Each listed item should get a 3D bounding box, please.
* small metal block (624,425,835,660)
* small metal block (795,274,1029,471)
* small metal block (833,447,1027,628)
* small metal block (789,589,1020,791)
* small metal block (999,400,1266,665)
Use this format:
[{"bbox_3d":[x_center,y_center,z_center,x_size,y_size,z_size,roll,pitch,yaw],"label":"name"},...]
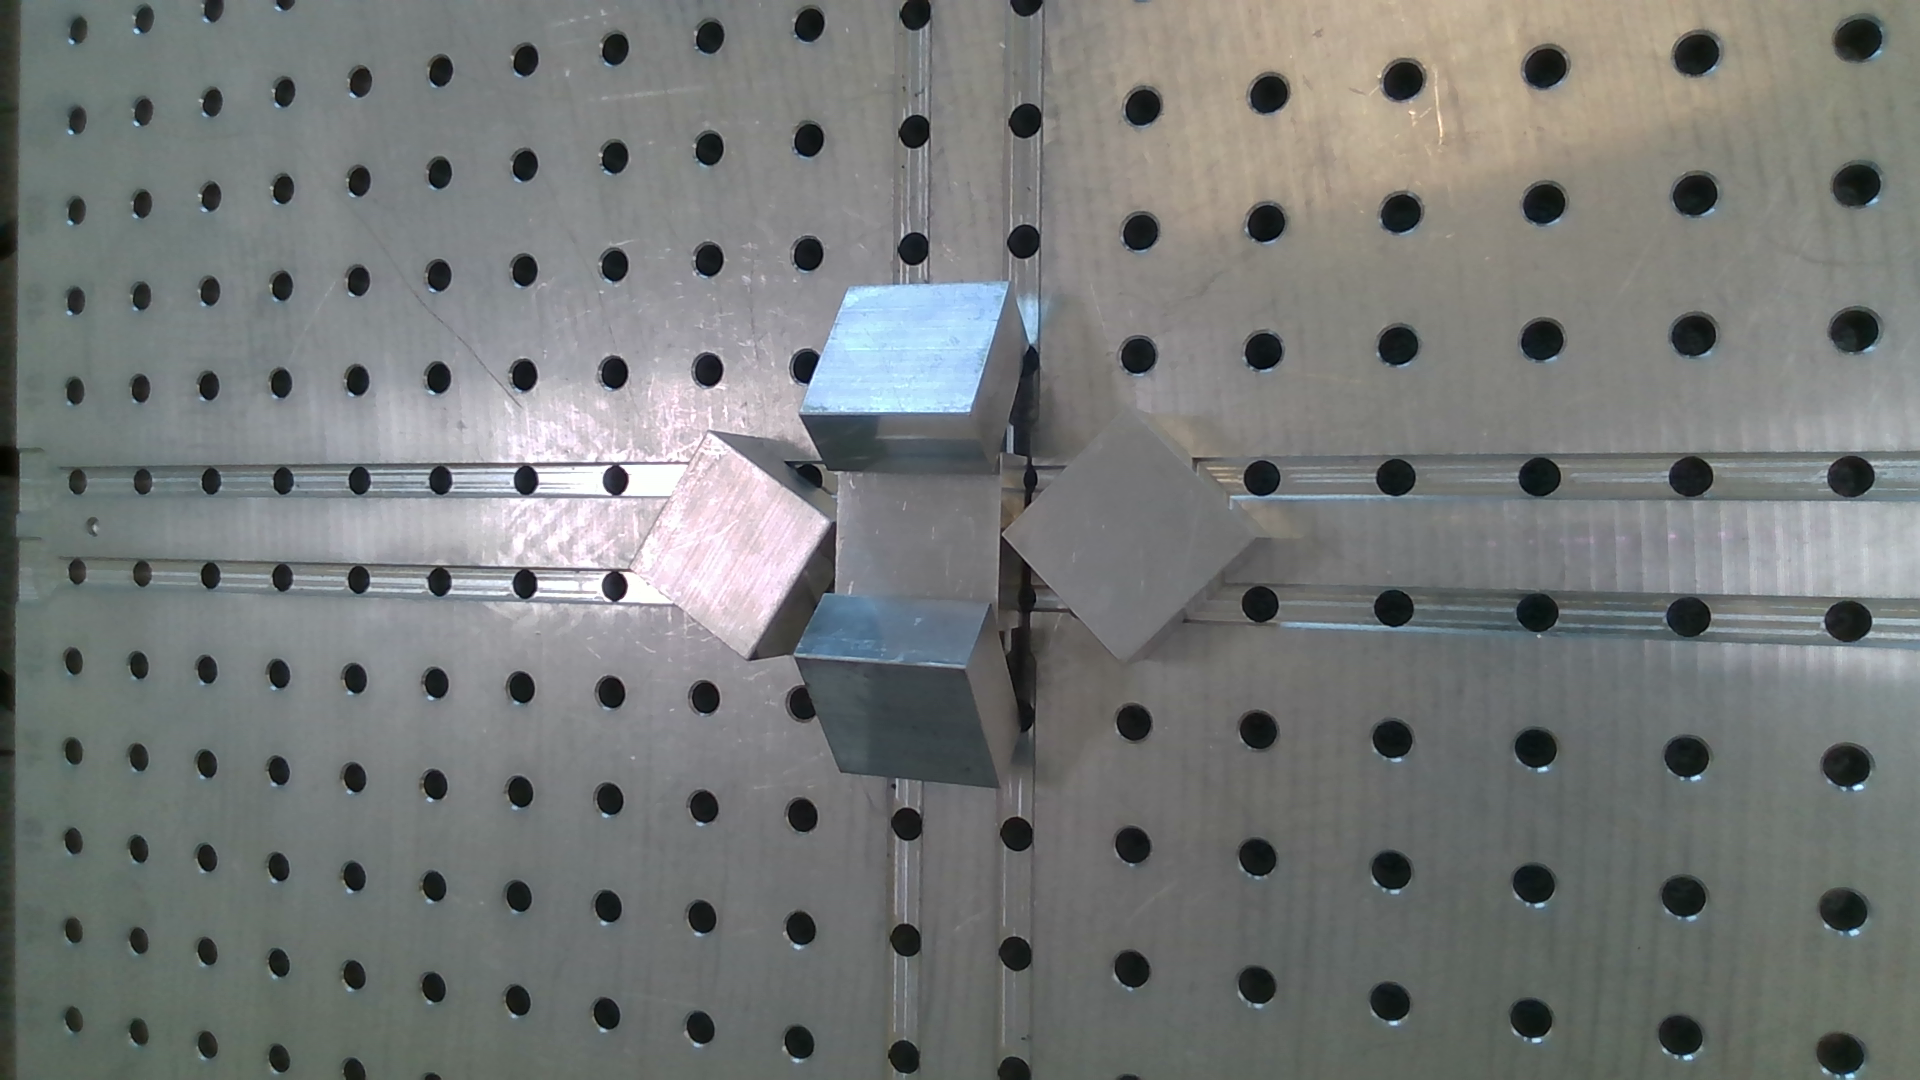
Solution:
[{"bbox_3d":[-0.065,0.001,0.420,0.050,0.025,0.050,36,100,17],"label":"small metal block"},{"bbox_3d":[-0.012,-0.047,0.387,0.050,0.025,0.050,2,54,21],"label":"small metal block"},{"bbox_3d":[-0.009,-0.001,0.399,0.050,0.025,0.050,1,91,19],"label":"small metal block"},{"bbox_3d":[-0.014,0.042,0.387,0.050,0.025,0.050,3,132,20],"label":"small metal block"},{"bbox_3d":[0.048,-0.002,0.379,0.050,0.025,0.050,-46,77,14],"label":"small metal block"}]
